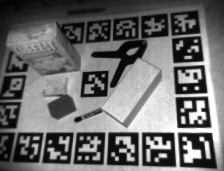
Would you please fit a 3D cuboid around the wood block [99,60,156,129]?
[{"bbox_3d":[0.047,0.025,0.711,0.089,0.092,0.206,34,80,23],"label":"wood block"}]

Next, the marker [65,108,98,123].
[{"bbox_3d":[-0.107,0.103,0.753,0.121,0.020,0.019,-21,71,5],"label":"marker"}]

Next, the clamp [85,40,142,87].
[{"bbox_3d":[0.021,-0.109,0.784,0.202,0.037,0.164,-31,69,2],"label":"clamp"}]

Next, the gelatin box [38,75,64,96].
[{"bbox_3d":[-0.229,0.000,0.811,0.089,0.030,0.073,-3,74,12],"label":"gelatin box"}]

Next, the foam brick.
[{"bbox_3d":[-0.196,0.072,0.766,0.078,0.052,0.052,-26,70,4],"label":"foam brick"}]

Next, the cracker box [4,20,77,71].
[{"bbox_3d":[-0.234,-0.126,0.746,0.163,0.215,0.072,-5,70,10],"label":"cracker box"}]
